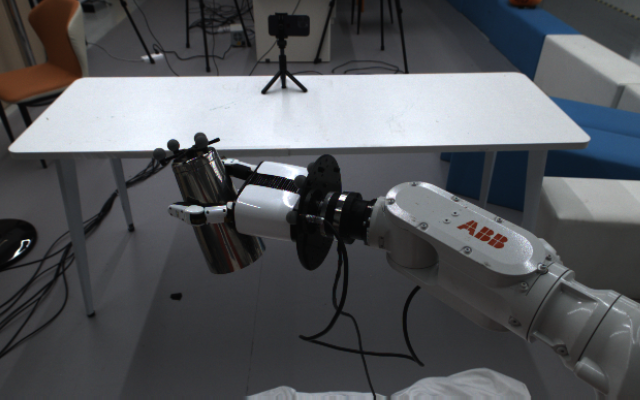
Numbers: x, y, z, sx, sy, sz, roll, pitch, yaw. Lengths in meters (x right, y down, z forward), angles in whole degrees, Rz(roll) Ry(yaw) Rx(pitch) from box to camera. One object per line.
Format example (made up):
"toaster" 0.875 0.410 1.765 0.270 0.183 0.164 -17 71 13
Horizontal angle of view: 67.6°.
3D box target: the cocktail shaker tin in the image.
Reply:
"cocktail shaker tin" -0.153 0.013 0.710 0.093 0.170 0.093 -17 20 7
